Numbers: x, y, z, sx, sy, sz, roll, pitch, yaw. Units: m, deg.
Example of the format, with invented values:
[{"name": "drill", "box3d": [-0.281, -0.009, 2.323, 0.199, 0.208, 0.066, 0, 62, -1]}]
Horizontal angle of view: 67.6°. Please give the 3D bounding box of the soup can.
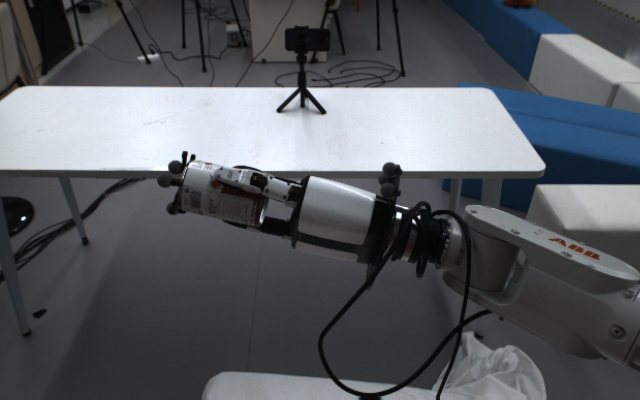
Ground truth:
[{"name": "soup can", "box3d": [-0.115, -0.007, 0.605, 0.101, 0.067, 0.067, 12, 35, -1]}]
